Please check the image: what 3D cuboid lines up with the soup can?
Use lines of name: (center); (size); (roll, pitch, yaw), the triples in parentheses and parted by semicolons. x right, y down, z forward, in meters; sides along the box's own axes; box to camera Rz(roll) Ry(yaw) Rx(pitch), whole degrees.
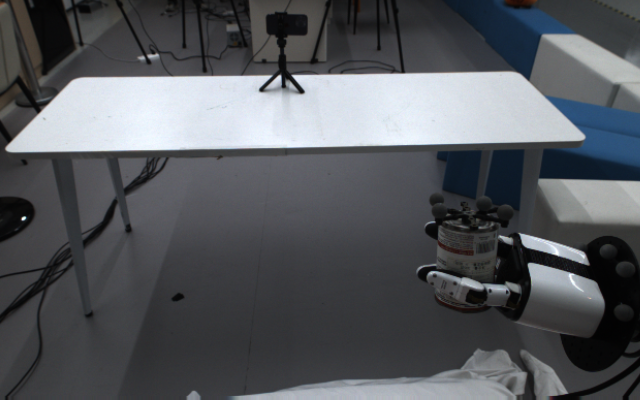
soup can: (0.172, 0.070, 0.561); (0.067, 0.101, 0.067); (-1, 17, 0)
